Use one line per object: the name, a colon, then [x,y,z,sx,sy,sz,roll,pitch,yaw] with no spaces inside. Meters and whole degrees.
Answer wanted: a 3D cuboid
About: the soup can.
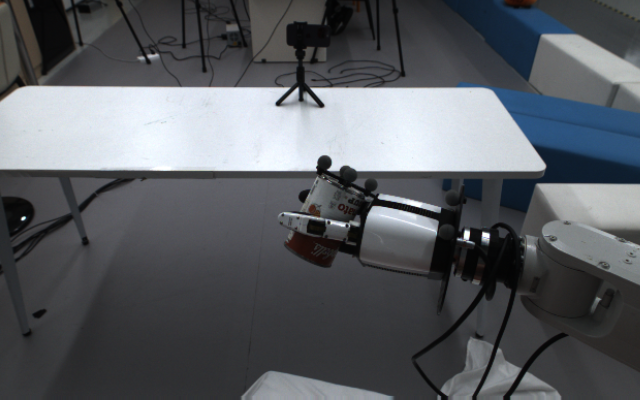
soup can: [0.007,0.026,0.613,0.067,0.101,0.067,26,5,-3]
